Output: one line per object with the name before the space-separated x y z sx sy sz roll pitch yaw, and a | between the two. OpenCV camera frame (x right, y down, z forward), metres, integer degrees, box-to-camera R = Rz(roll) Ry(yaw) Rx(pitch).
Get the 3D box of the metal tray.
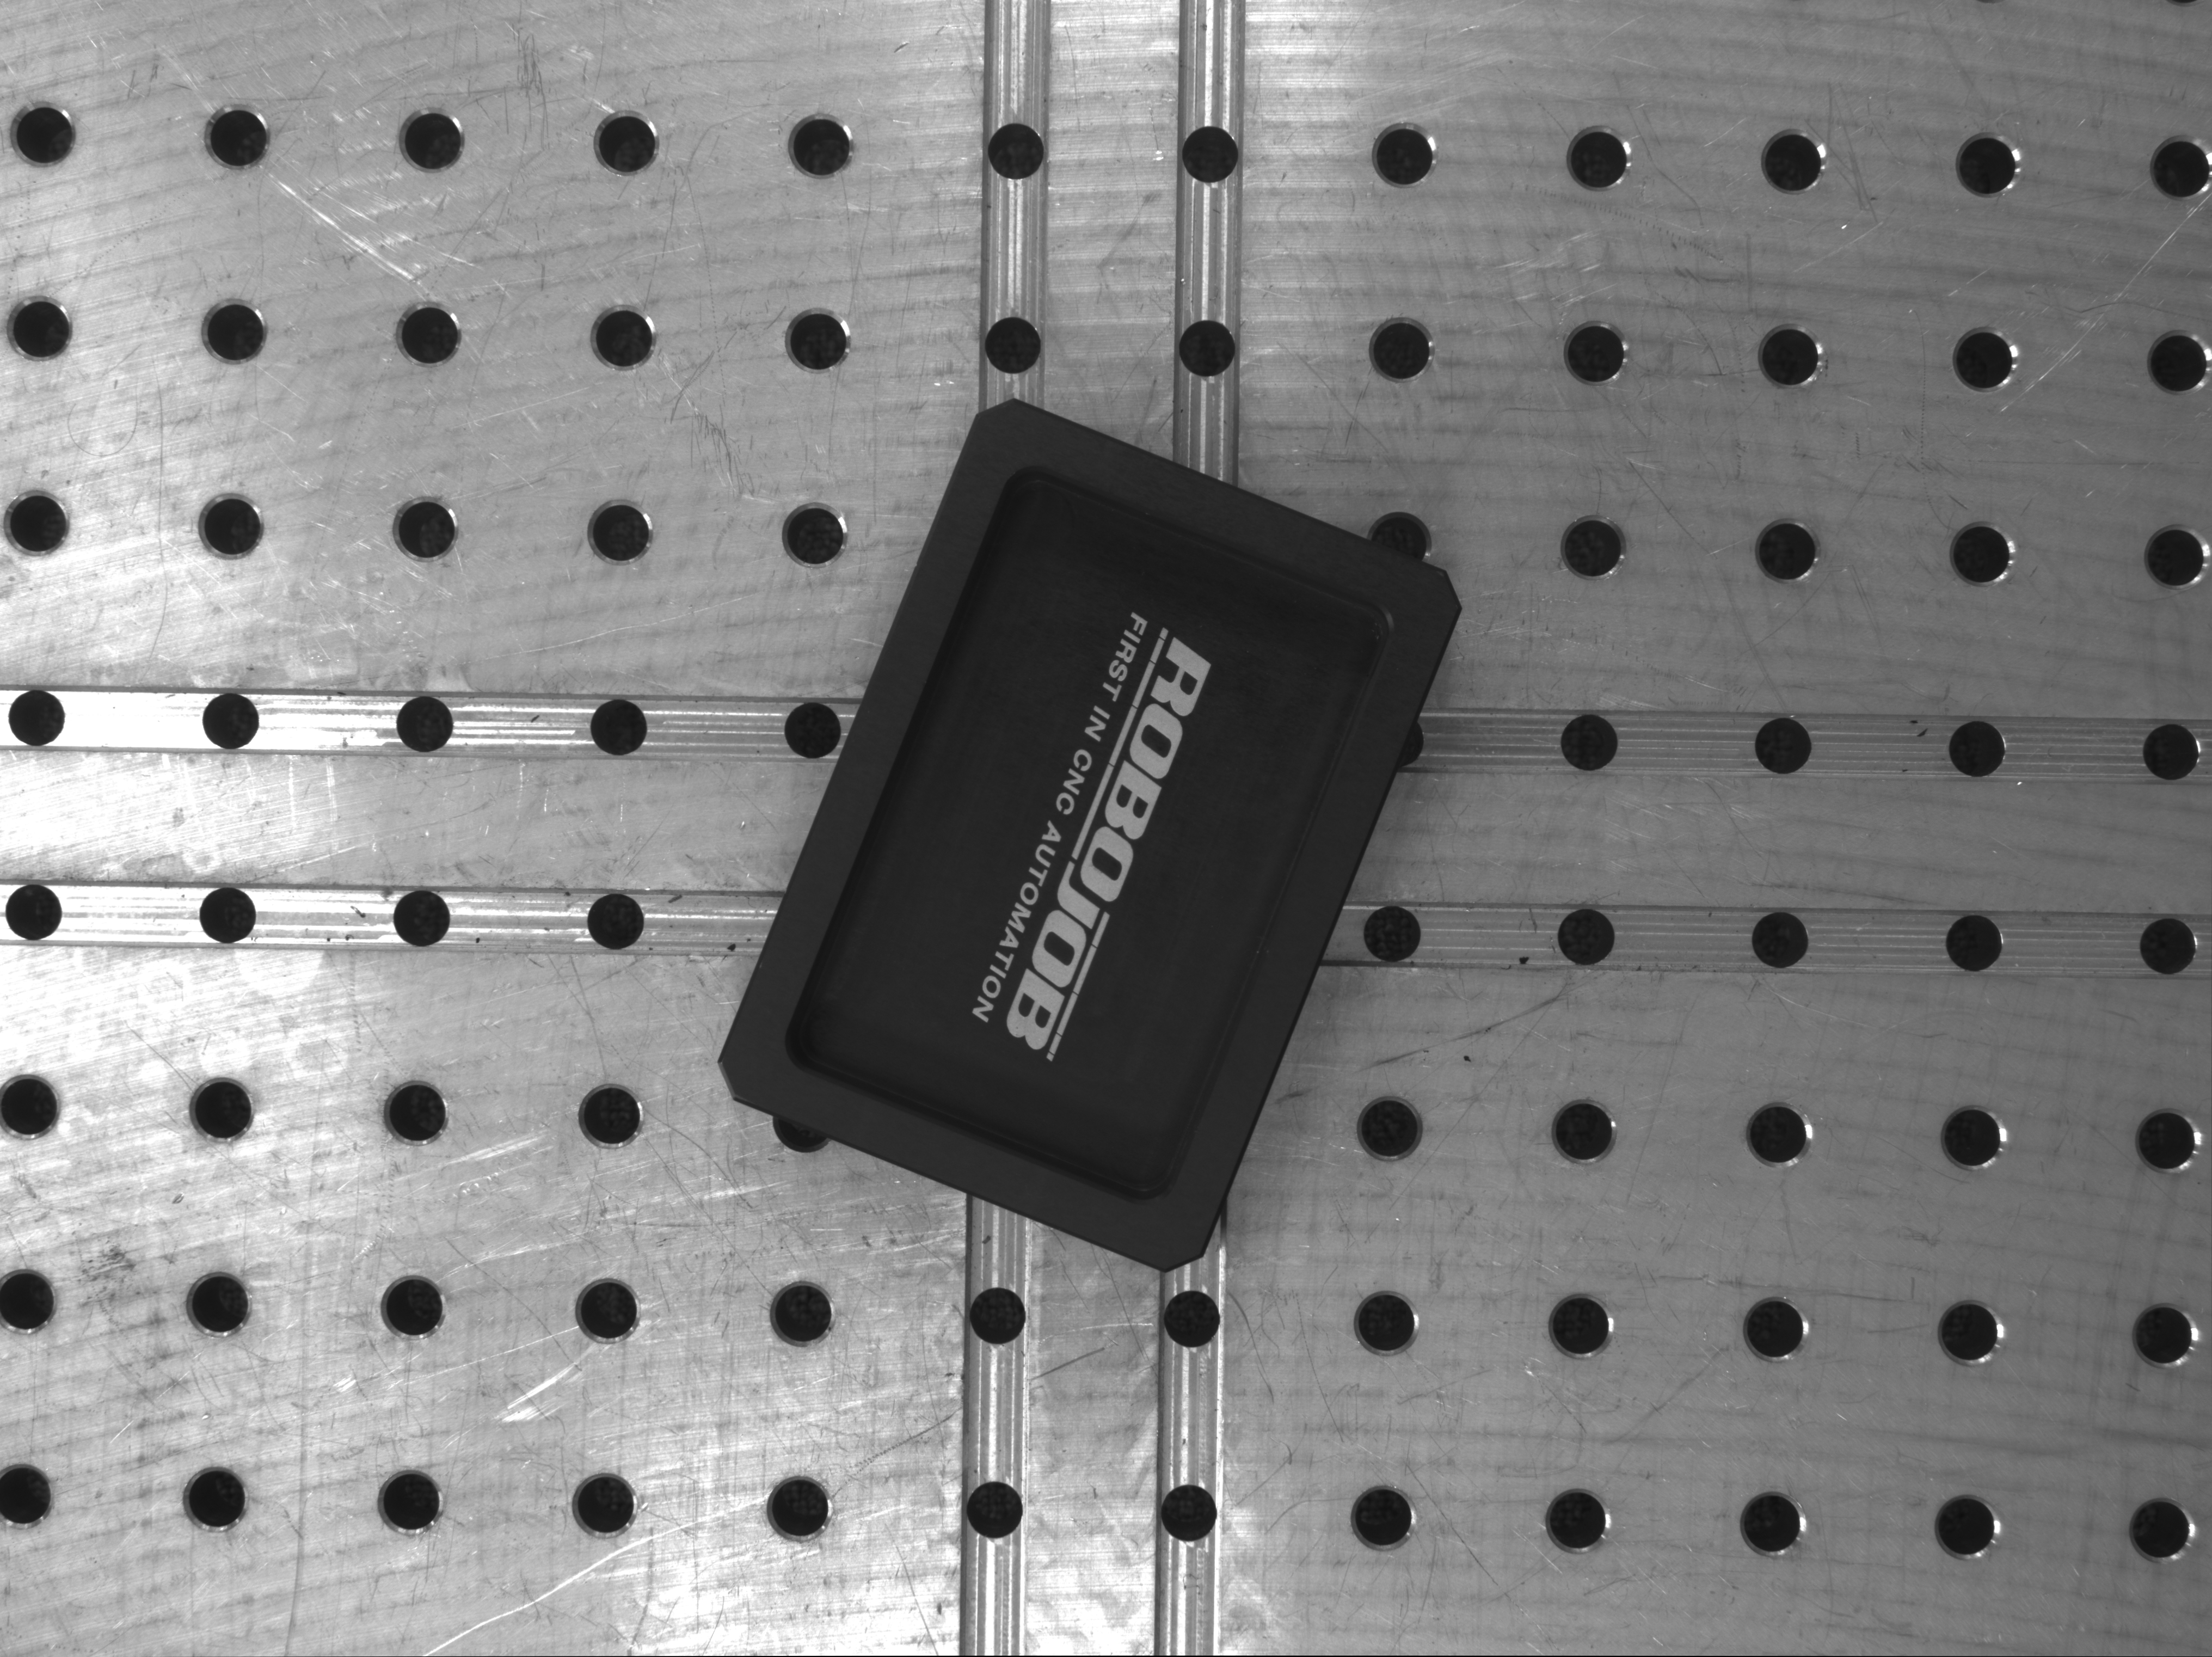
metal tray | -0.003 0.002 0.646 0.090 0.030 0.130 22 90 0
